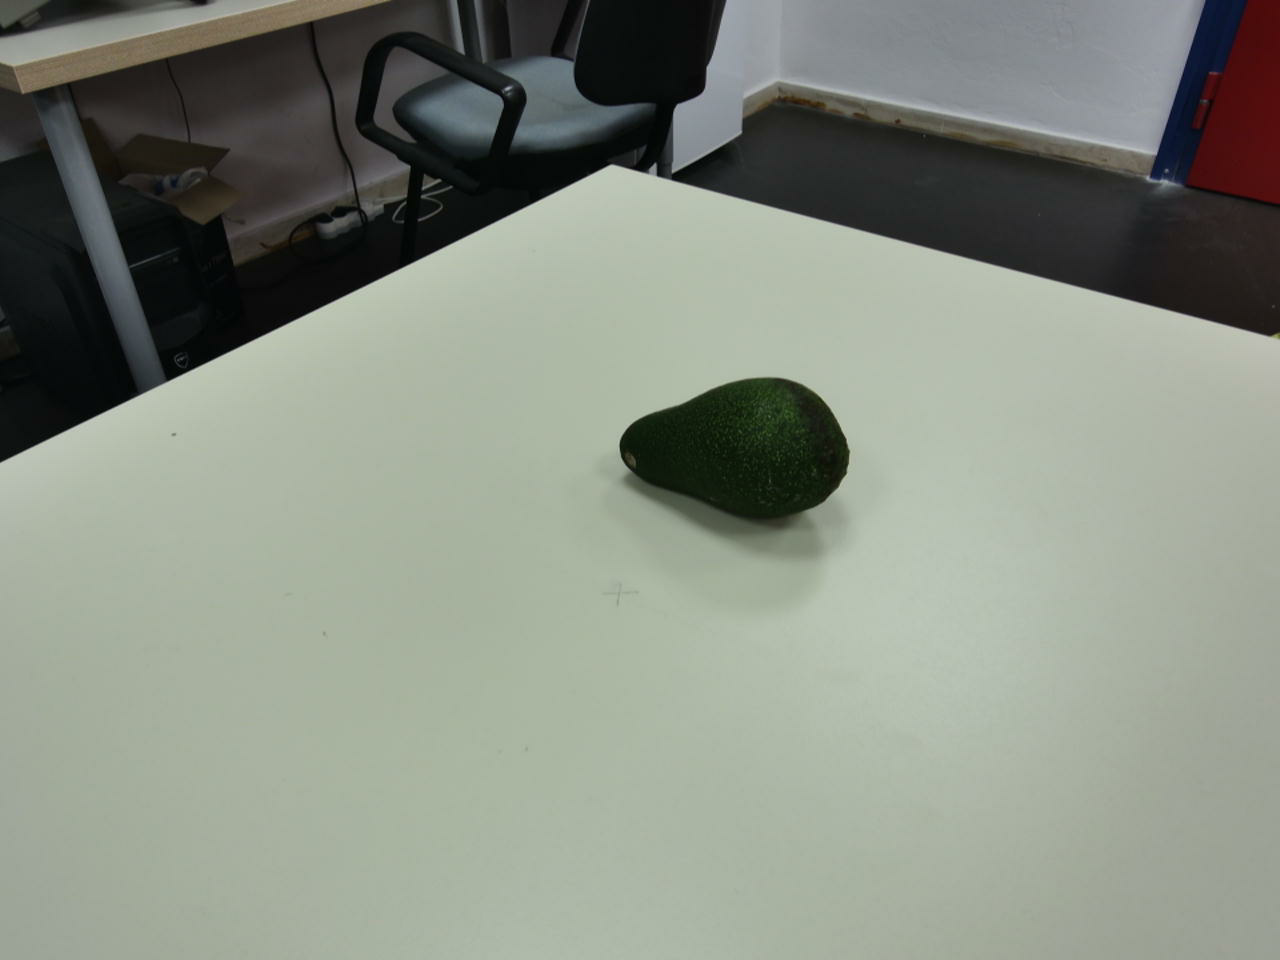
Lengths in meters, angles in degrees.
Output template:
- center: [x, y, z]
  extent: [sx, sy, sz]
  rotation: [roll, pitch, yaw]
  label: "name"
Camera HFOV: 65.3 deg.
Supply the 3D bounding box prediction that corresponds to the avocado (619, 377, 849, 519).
- center: [0.053, -0.023, 0.526]
  extent: [0.123, 0.076, 0.074]
  rotation: [30, 47, 34]
  label: "avocado"
